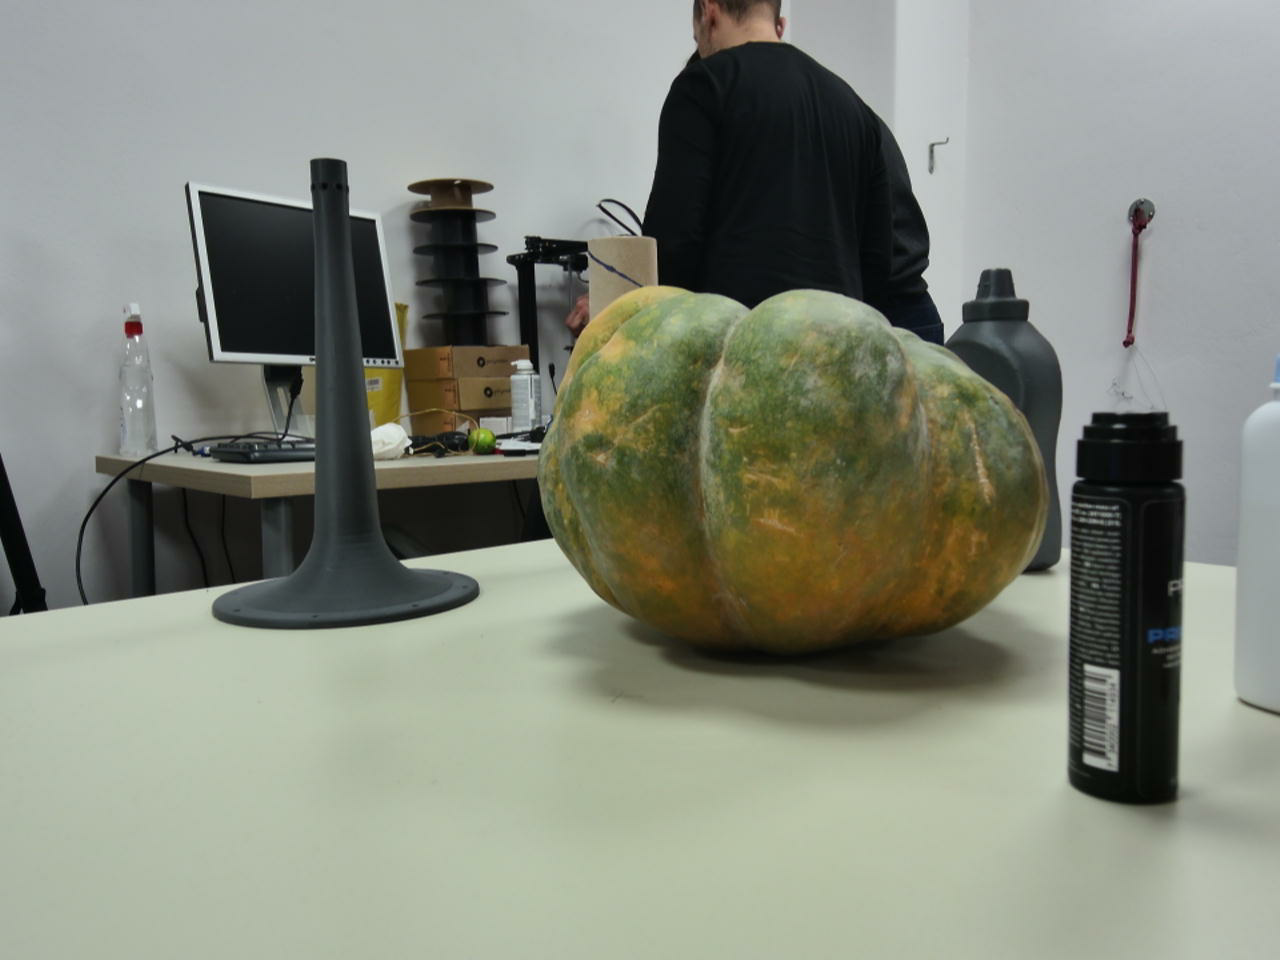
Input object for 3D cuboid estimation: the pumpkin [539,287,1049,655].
[{"bbox_3d":[0.071,-0.009,0.495,0.237,0.173,0.270,0,3,-3],"label":"pumpkin"}]
